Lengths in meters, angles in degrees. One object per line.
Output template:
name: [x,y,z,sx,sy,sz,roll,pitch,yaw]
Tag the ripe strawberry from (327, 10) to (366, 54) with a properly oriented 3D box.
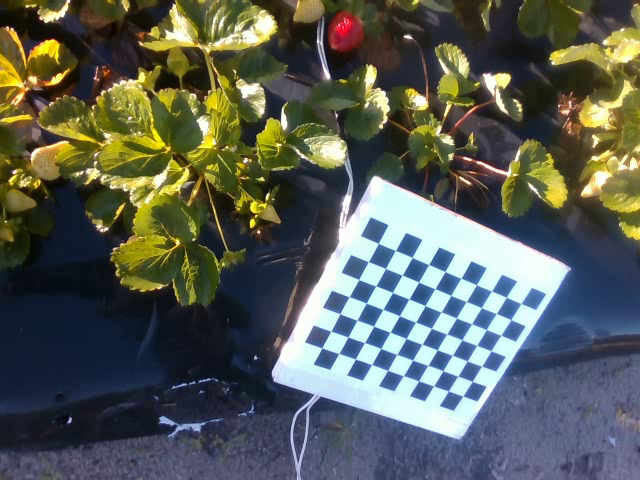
ripe strawberry: [0.039,-0.280,0.817,0.040,0.062,0.080,-9,38,44]
